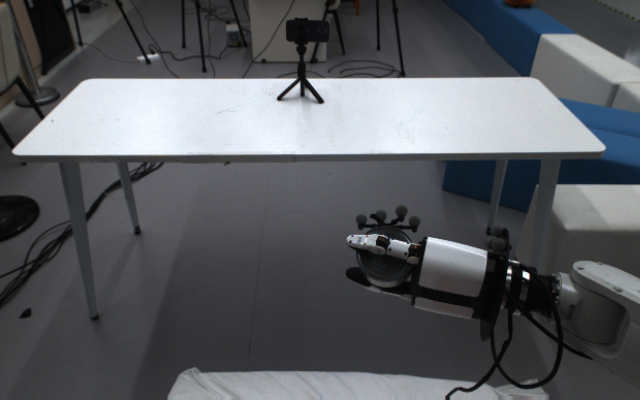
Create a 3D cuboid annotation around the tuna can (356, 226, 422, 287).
[{"bbox_3d":[0.097,0.081,0.704,0.085,0.034,0.085,-4,59,7],"label":"tuna can"}]
